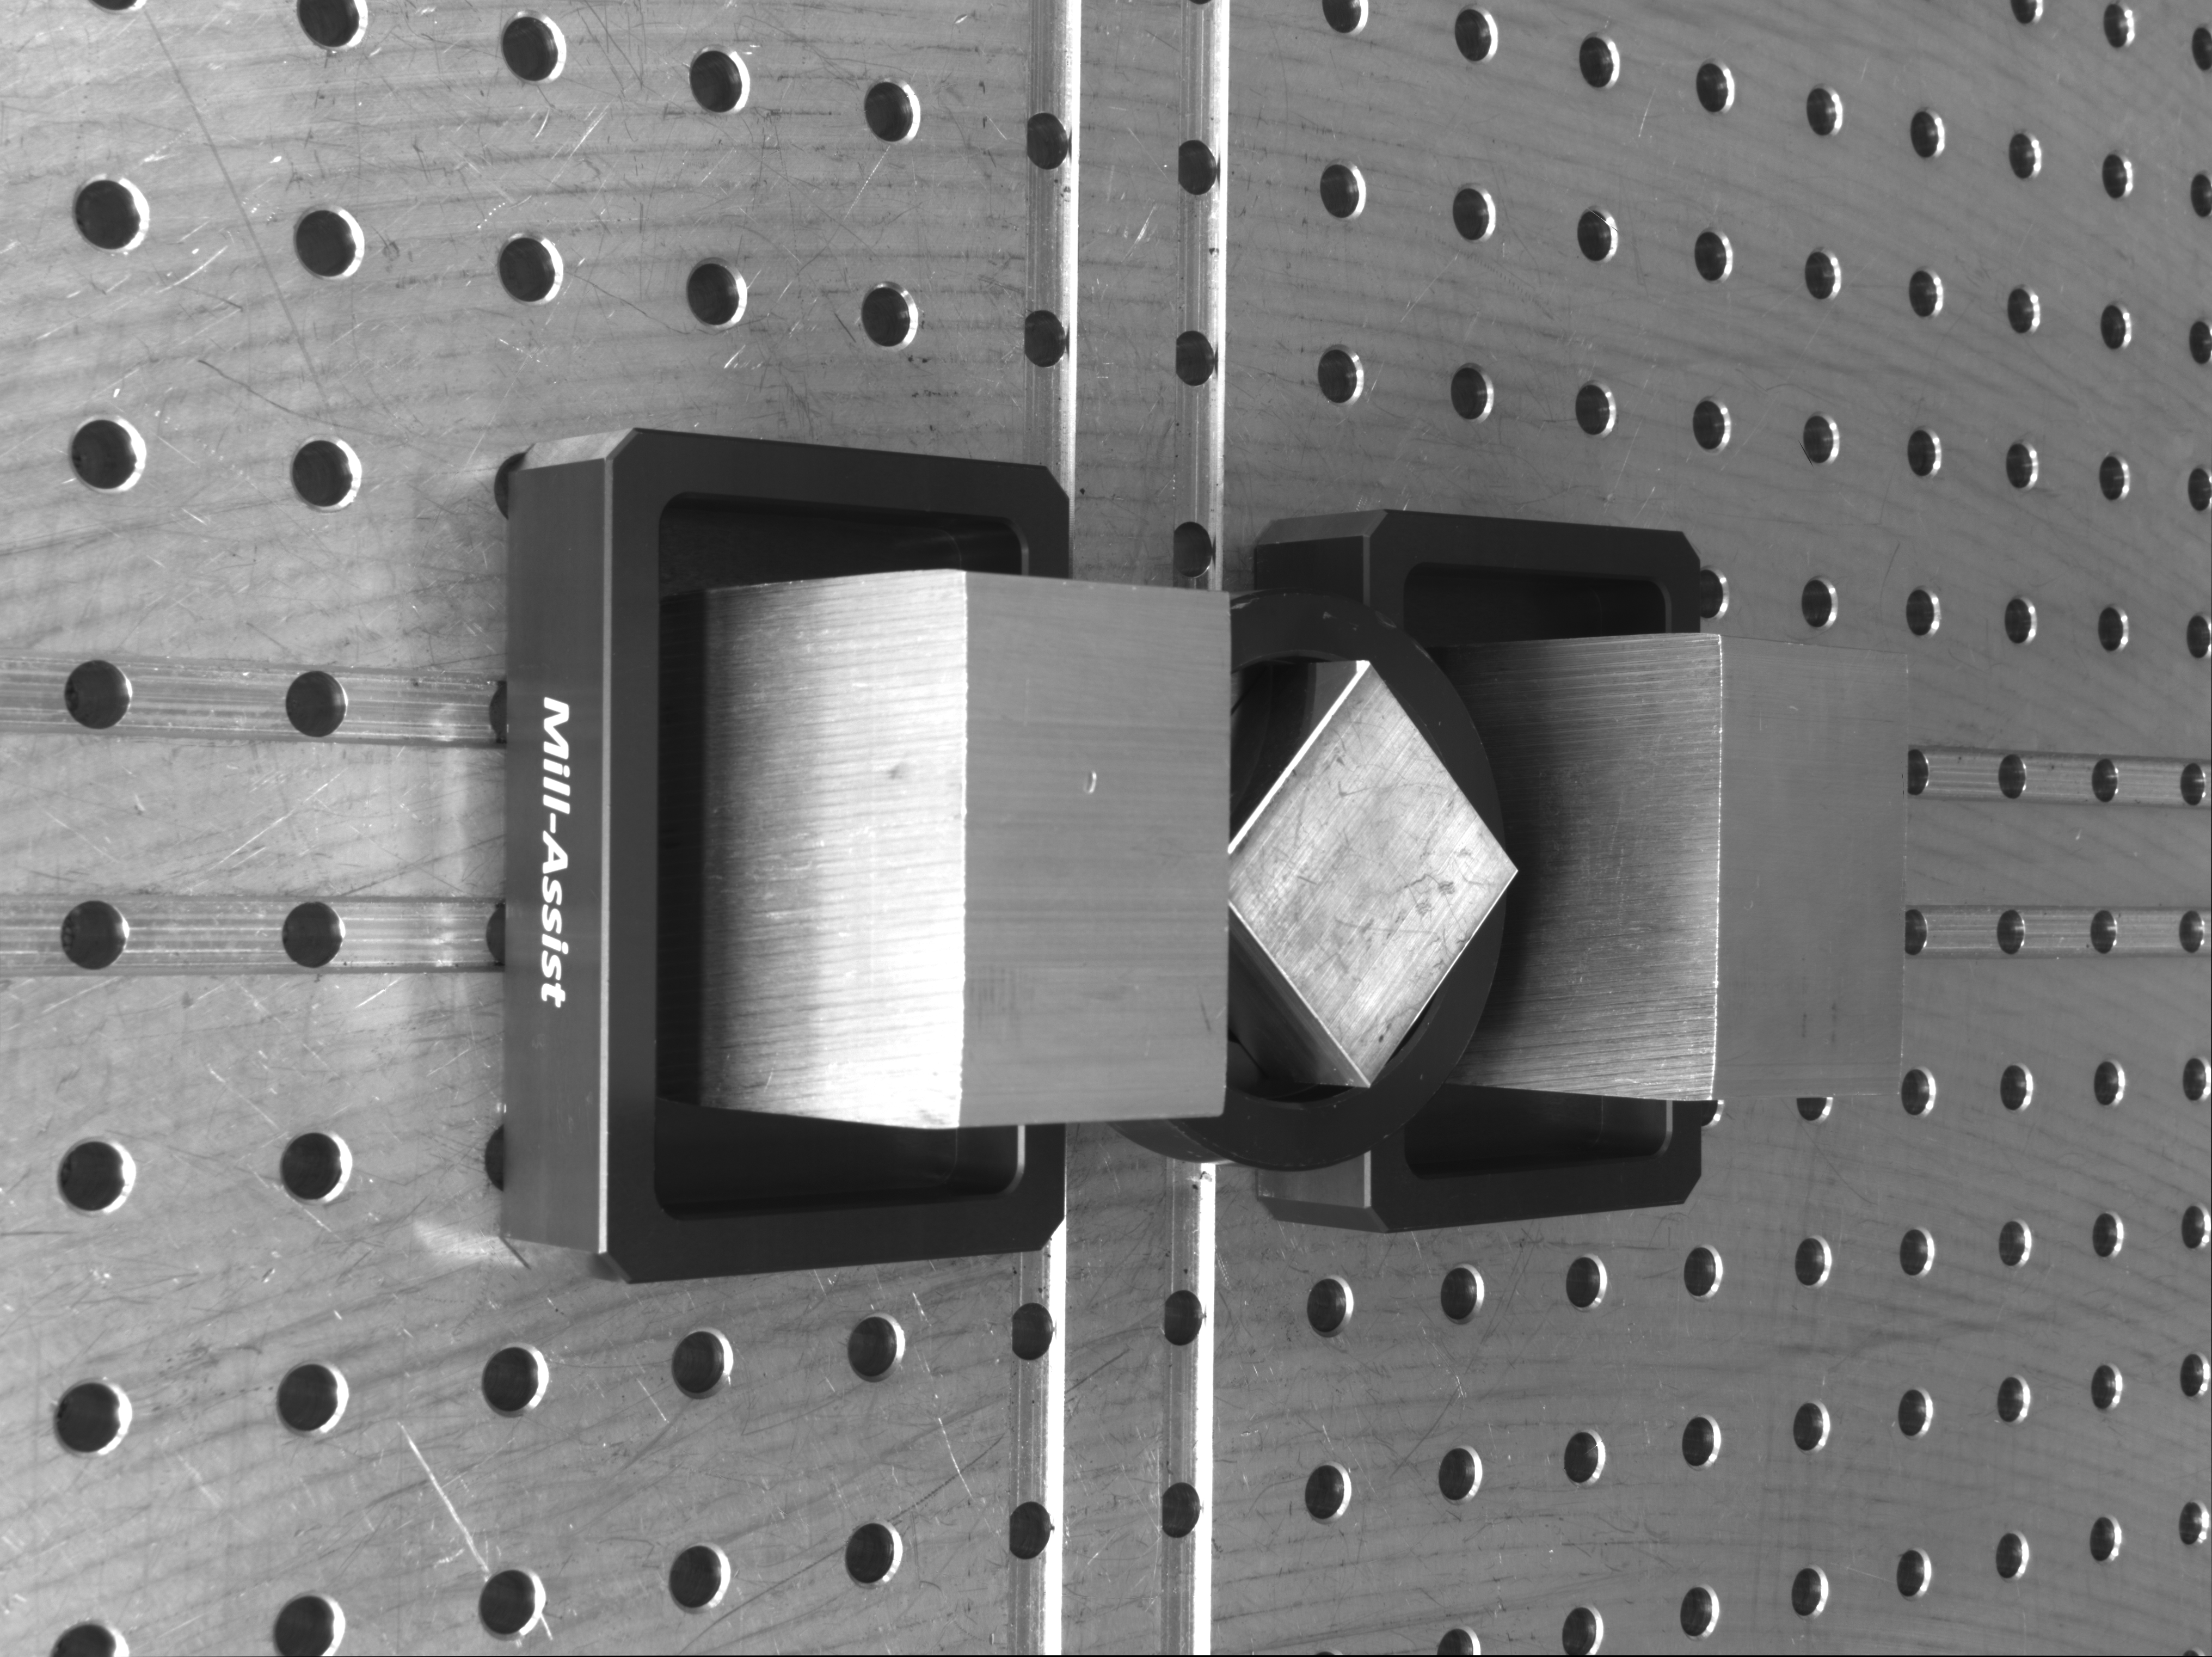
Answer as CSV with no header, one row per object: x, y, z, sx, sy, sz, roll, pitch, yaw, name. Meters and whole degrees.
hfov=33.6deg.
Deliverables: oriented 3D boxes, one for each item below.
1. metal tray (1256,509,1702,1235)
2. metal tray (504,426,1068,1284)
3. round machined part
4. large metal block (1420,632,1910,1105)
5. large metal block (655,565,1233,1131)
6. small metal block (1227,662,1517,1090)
0.072,0.008,0.694,0.090,0.030,0.130,0,90,-40,metal tray
-0.050,0.005,0.593,0.090,0.030,0.130,1,89,-40,metal tray
0.020,0.009,0.633,0.098,0.042,0.098,0,90,-40,round machined part
0.098,0.008,0.667,0.050,0.080,0.080,2,89,-40,large metal block
-0.026,0.003,0.564,0.050,0.080,0.080,1,89,-40,large metal block
0.035,0.008,0.615,0.050,0.025,0.050,52,60,-27,small metal block
